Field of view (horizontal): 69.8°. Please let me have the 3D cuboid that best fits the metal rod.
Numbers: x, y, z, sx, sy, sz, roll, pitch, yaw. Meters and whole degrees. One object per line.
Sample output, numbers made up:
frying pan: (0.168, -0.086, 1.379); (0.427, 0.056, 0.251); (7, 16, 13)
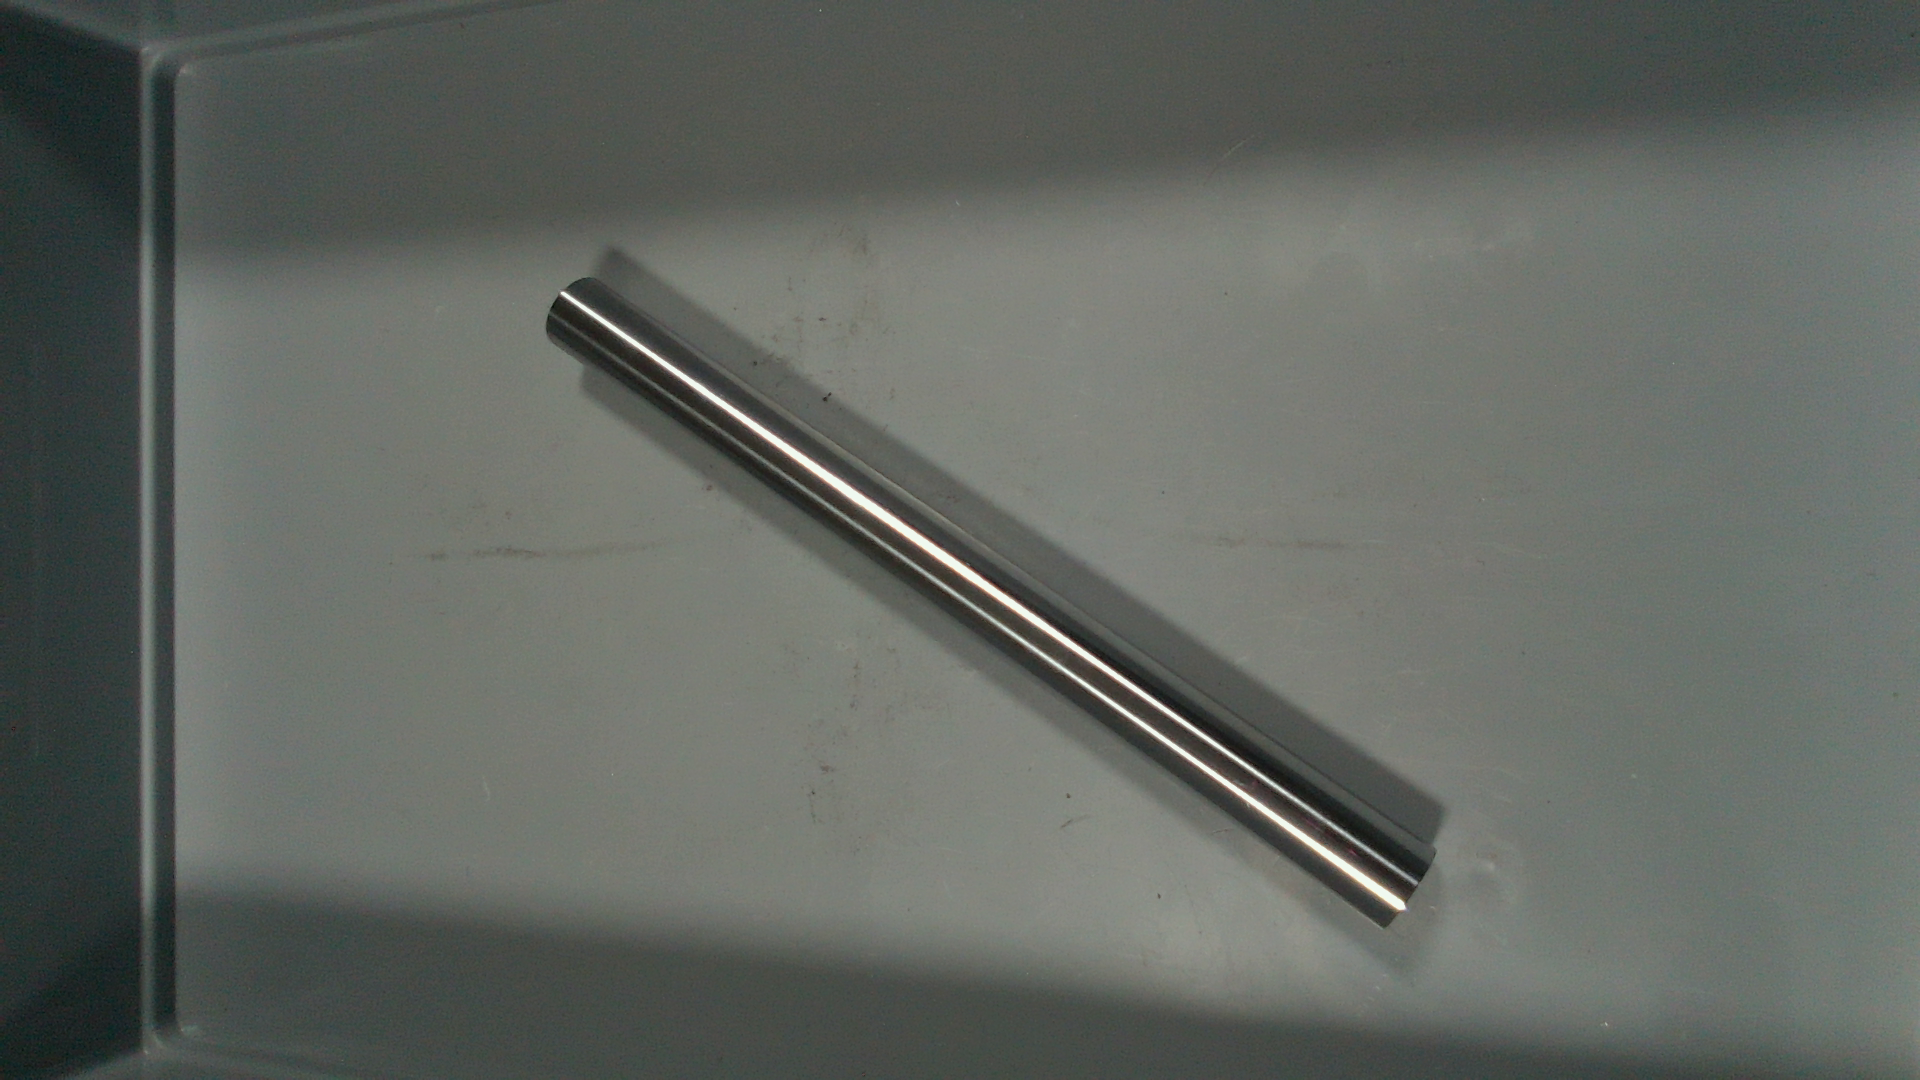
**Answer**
metal rod: (-0.004, 0.008, 0.395); (0.299, 0.025, 0.025); (34, 101, 17)
